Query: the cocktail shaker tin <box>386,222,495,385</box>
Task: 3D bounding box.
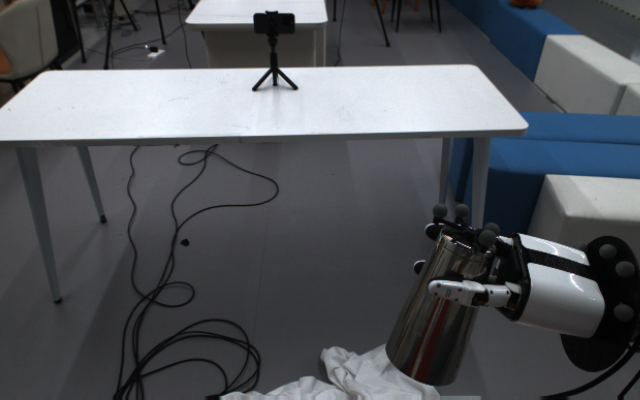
[{"bbox_3d":[0.150,0.119,0.580,0.093,0.170,0.093,14,18,-5],"label":"cocktail shaker tin"}]
